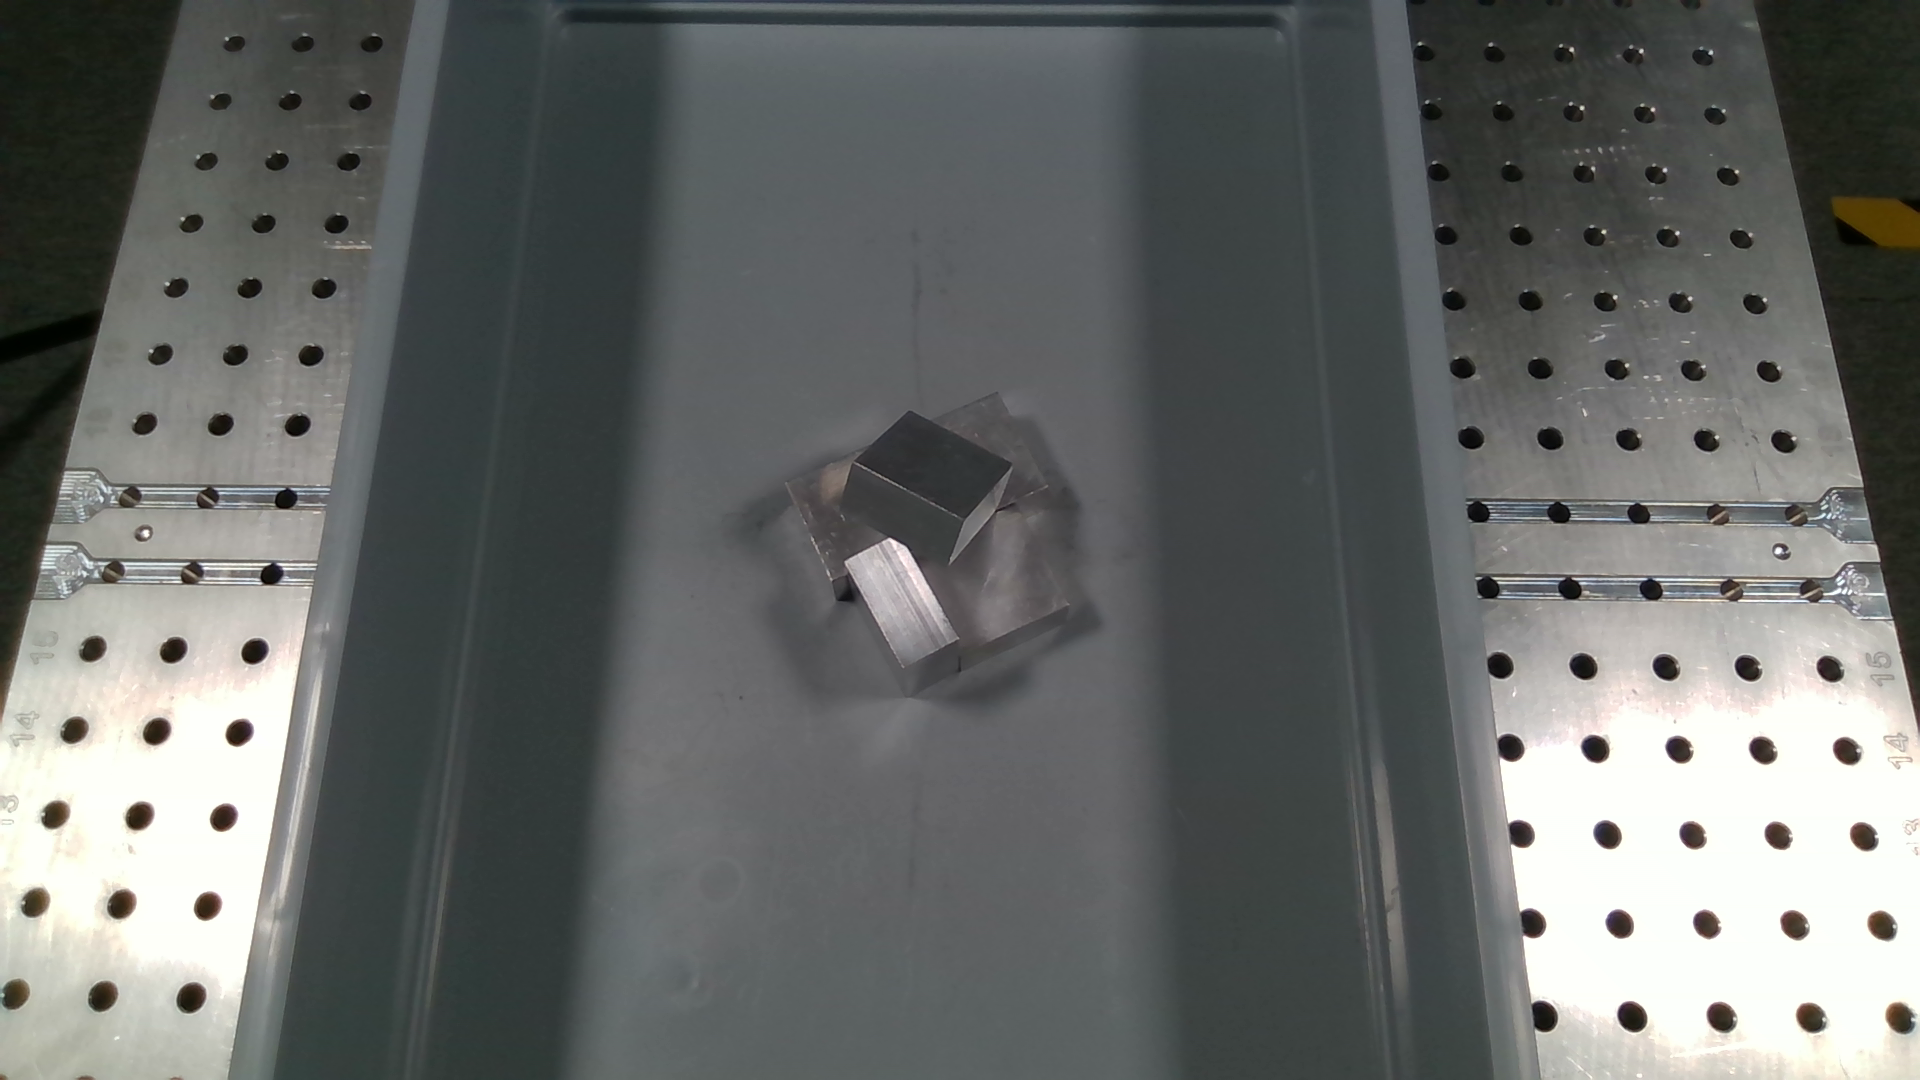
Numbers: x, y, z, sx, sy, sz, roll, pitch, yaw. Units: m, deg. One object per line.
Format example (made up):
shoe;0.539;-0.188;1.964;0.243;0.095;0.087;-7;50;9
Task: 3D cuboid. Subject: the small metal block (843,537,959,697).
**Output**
small metal block;-0.023;0.031;0.562;0.025;0.050;0.050;-27;73;-9

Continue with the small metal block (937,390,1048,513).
small metal block;0.004;-0.030;0.598;0.050;0.025;0.050;-24;72;-8

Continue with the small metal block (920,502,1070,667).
small metal block;0.012;0.020;0.580;0.050;0.025;0.050;-24;72;-8

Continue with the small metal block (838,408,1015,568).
small metal block;-0.013;-0.022;0.555;0.050;0.025;0.050;28;38;10

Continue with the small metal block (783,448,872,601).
small metal block;-0.042;-0.009;0.590;0.050;0.025;0.050;-24;72;-8
